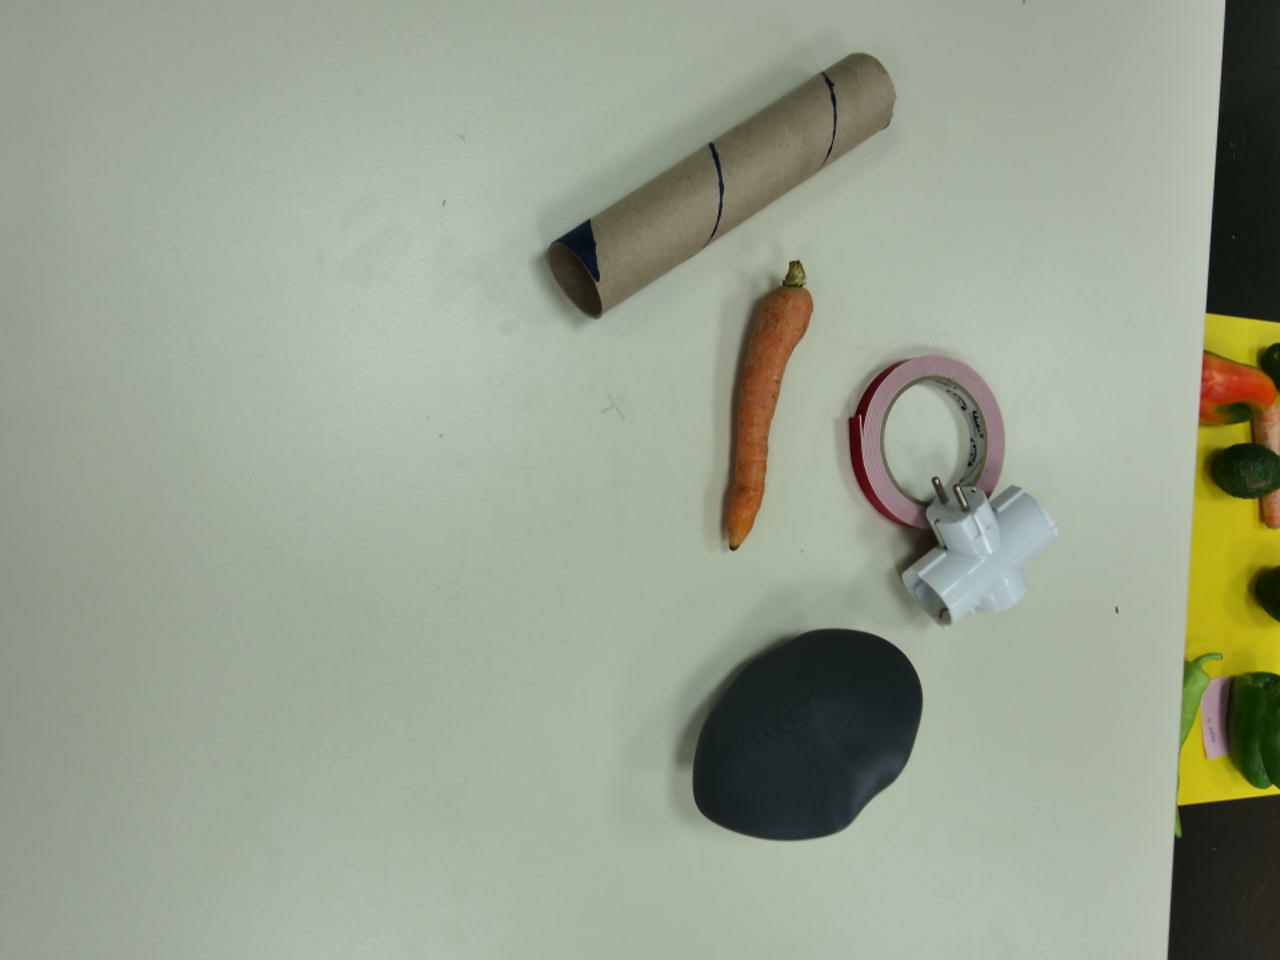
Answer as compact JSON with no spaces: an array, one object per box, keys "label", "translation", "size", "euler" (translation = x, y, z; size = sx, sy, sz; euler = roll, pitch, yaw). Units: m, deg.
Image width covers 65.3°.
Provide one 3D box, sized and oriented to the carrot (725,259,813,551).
[{"label":"carrot","translation":[0.071,-0.042,0.579],"size":[0.030,0.032,0.173],"euler":[15,85,-21]}]
